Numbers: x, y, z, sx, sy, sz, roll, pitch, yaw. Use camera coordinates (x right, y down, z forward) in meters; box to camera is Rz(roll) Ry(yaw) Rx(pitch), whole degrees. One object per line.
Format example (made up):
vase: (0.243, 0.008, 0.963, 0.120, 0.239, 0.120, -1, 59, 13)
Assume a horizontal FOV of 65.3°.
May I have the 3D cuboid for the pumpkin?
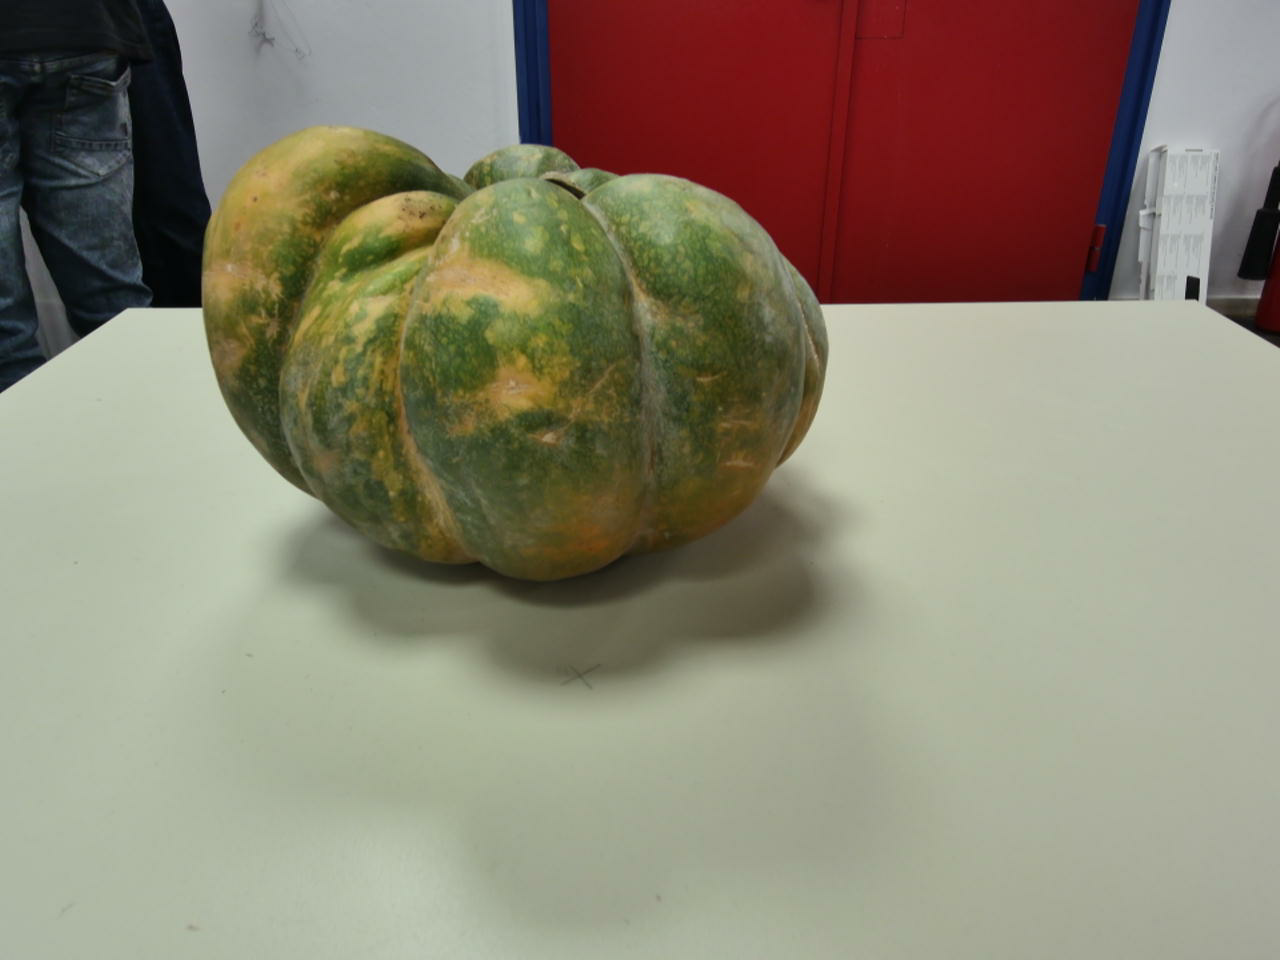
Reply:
pumpkin: (-0.049, -0.064, 0.433, 0.270, 0.173, 0.237, 17, 30, 33)
